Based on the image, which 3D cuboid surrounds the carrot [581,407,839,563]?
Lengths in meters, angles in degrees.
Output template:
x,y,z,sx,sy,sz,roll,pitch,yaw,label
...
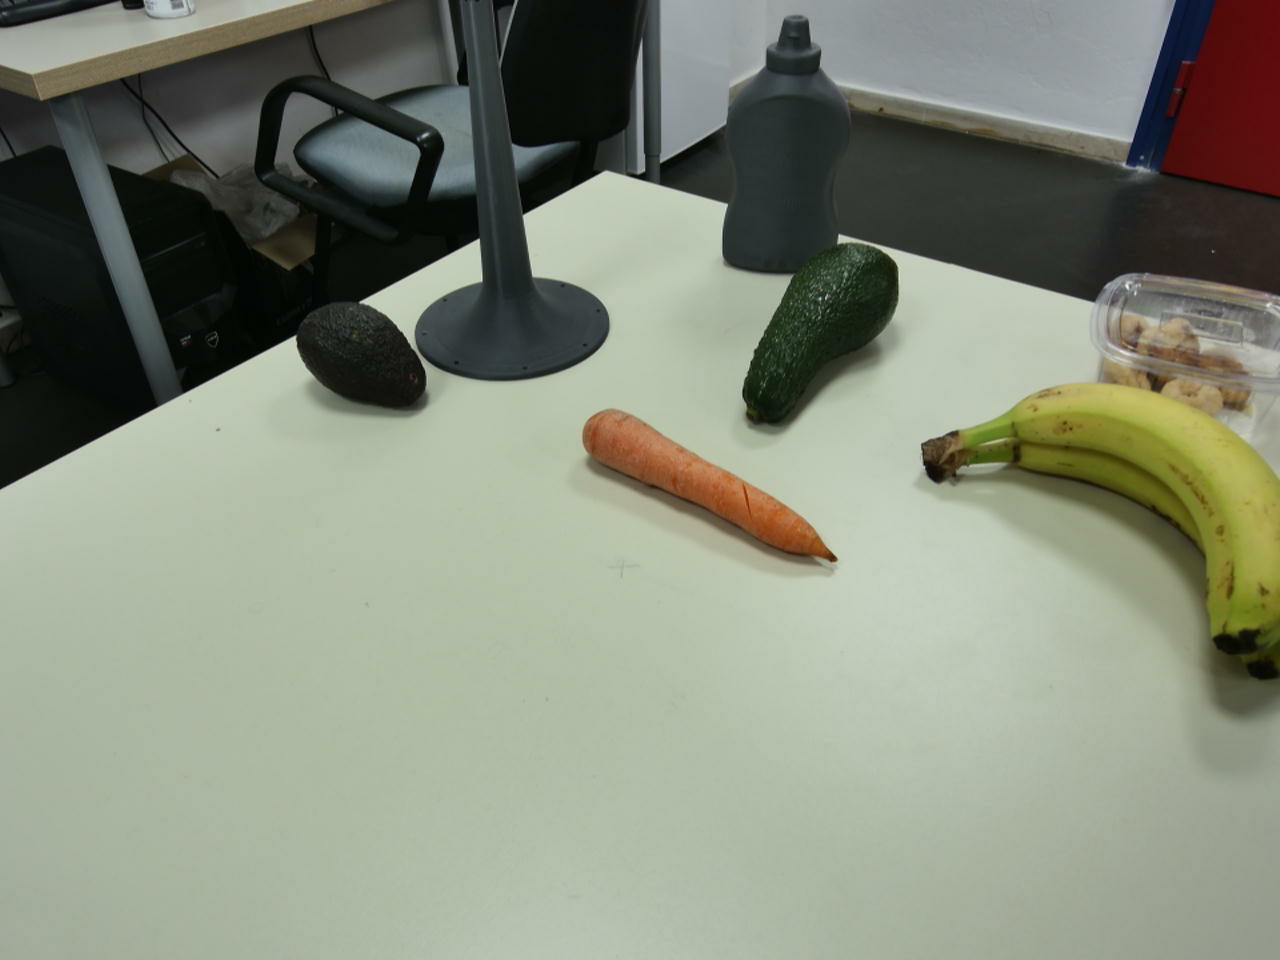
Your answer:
x,y,z,sx,sy,sz,roll,pitch,yaw,label
0.043,0.000,0.642,0.196,0.041,0.039,25,44,29,carrot
